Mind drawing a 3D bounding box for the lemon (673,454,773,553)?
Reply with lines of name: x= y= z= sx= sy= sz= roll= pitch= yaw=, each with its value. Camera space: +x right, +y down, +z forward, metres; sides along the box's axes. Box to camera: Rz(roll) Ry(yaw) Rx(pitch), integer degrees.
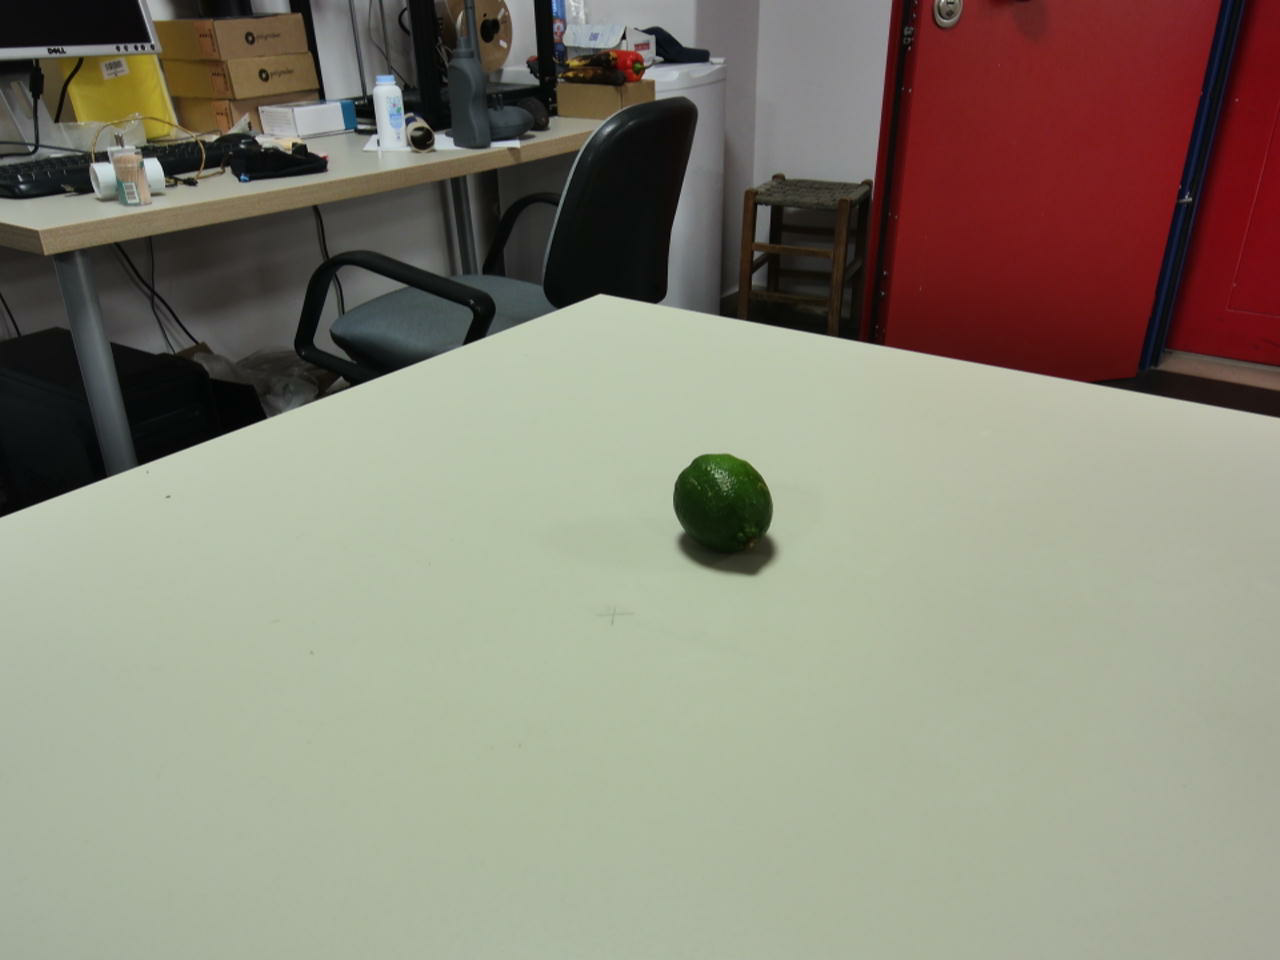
lemon: x=0.046 y=0.012 z=0.543 sx=0.057 sy=0.051 sz=0.054 roll=14 pitch=29 yaw=30
